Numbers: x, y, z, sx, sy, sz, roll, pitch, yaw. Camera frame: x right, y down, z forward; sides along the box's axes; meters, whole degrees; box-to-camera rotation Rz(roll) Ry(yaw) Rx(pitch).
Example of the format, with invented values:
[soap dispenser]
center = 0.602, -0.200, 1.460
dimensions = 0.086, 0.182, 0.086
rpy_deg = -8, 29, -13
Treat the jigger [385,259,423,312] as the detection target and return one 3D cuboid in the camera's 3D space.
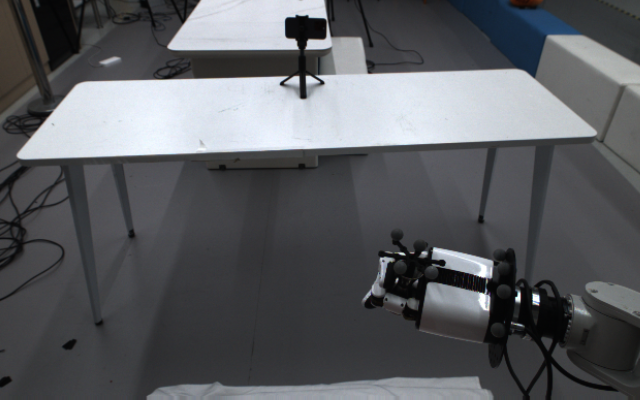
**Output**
[jigger]
center = 0.117, 0.120, 0.670
dimensions = 0.043, 0.071, 0.043
rpy_deg = 7, 32, -4
